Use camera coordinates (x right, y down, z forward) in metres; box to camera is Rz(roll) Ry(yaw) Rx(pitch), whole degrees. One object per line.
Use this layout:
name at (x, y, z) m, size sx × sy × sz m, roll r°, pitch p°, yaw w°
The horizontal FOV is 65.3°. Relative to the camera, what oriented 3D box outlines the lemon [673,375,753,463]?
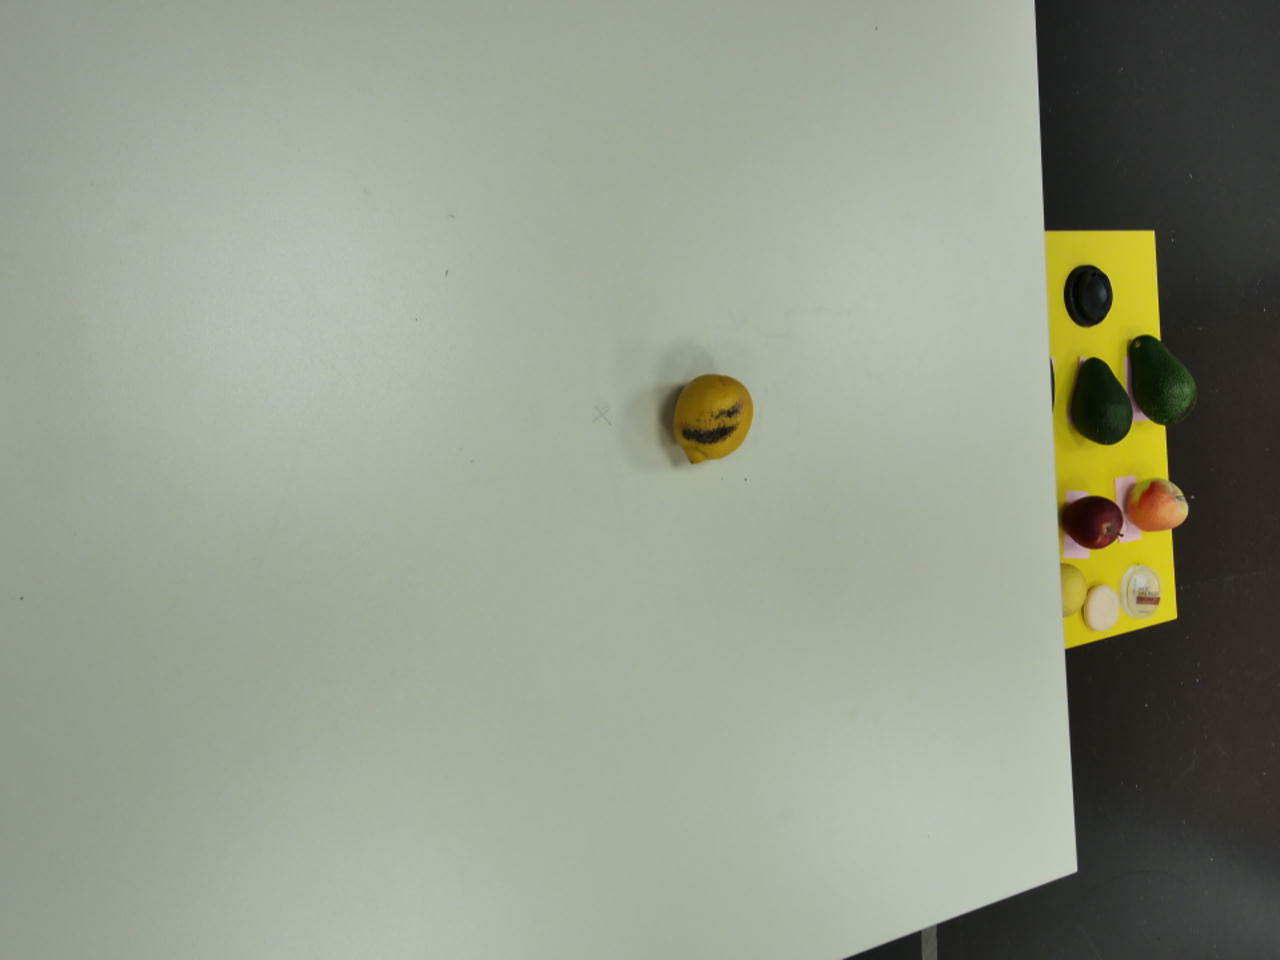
lemon at (0.052, -0.046, 0.719) m, size 0.058 × 0.056 × 0.061 m, roll -14°, pitch 97°, yaw -27°
